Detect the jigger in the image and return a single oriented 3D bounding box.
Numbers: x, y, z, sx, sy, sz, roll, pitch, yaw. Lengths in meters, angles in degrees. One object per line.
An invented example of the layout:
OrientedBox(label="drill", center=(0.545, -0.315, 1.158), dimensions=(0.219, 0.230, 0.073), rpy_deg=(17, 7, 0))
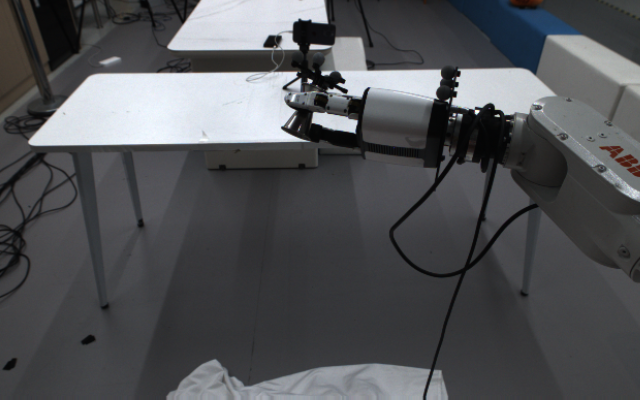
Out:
OrientedBox(label="jigger", center=(-0.022, -0.122, 0.659), dimensions=(0.043, 0.071, 0.043), rpy_deg=(24, -3, 1))
